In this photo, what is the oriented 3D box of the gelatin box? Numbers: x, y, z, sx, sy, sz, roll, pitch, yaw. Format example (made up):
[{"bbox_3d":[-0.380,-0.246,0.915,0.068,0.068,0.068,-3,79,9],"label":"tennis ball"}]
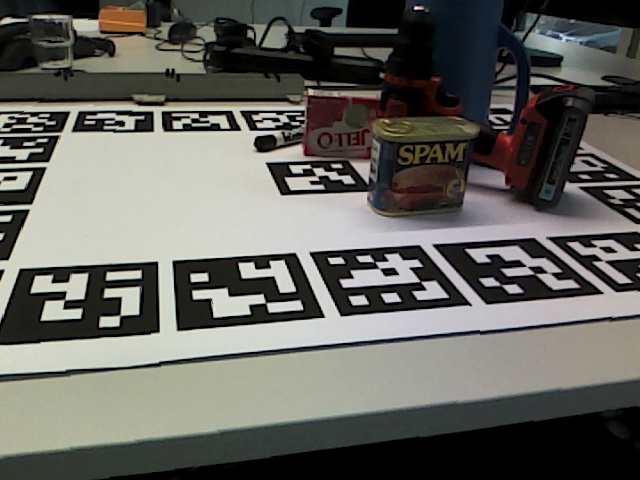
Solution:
[{"bbox_3d":[0.031,-0.141,0.754,0.089,0.073,0.030,3,33,-5],"label":"gelatin box"}]

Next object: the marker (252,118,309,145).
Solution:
[{"bbox_3d":[-0.036,-0.144,0.800,0.120,0.019,0.020,-21,38,-35],"label":"marker"}]

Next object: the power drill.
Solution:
[{"bbox_3d":[0.151,-0.146,0.666,0.187,0.184,0.057,19,35,14],"label":"power drill"}]

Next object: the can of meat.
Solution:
[{"bbox_3d":[0.098,-0.070,0.619,0.101,0.083,0.058,-4,28,-15],"label":"can of meat"}]

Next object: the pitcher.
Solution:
[{"bbox_3d":[0.174,-0.220,0.753,0.189,0.242,0.133,7,32,19],"label":"pitcher"}]
